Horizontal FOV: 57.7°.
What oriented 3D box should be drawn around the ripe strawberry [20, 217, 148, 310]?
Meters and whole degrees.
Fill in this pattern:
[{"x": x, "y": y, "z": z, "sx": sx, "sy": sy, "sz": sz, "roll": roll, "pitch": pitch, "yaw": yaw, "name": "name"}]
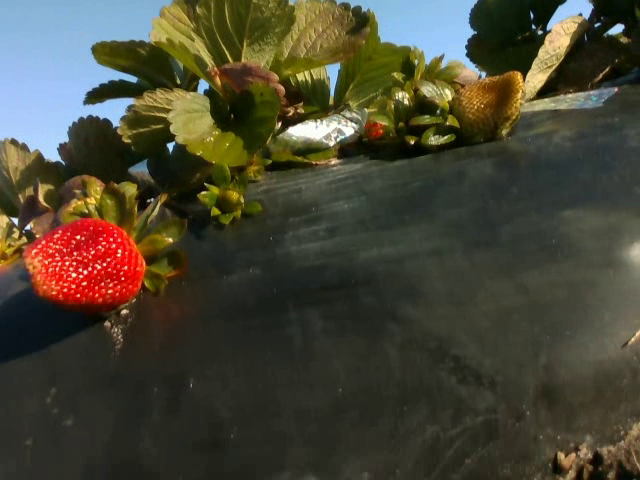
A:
[{"x": -0.090, "y": 0.012, "z": 0.212, "sx": 0.042, "sy": 0.042, "sz": 0.059, "roll": -1, "pitch": 13, "yaw": 11, "name": "ripe strawberry"}]
